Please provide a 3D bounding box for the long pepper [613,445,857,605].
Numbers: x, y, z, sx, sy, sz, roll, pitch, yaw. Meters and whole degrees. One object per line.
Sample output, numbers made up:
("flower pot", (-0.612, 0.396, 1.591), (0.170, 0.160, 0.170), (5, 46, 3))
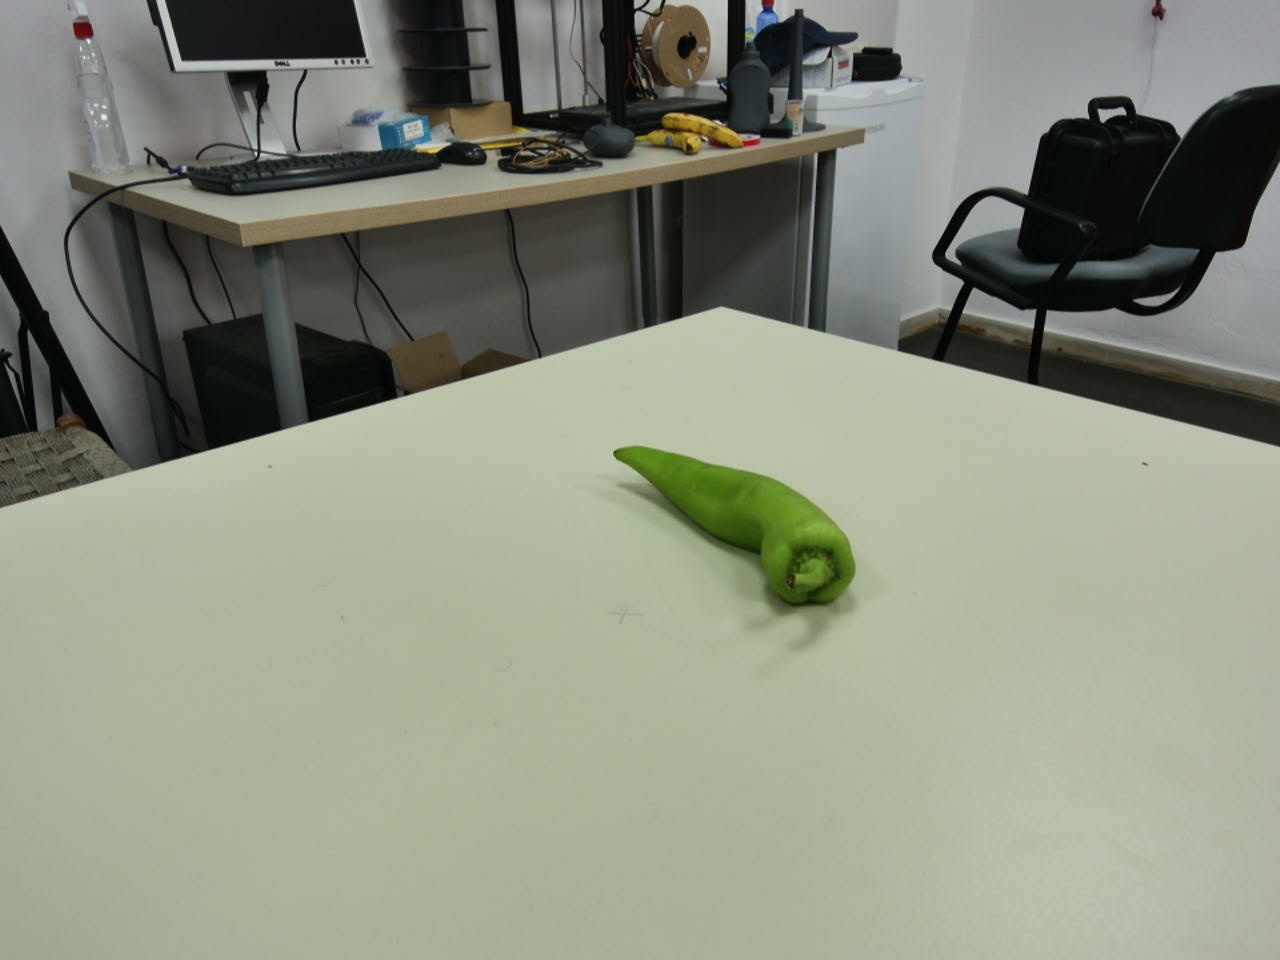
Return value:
("long pepper", (0.055, 0.015, 0.561), (0.065, 0.045, 0.204), (-10, 26, -23))
